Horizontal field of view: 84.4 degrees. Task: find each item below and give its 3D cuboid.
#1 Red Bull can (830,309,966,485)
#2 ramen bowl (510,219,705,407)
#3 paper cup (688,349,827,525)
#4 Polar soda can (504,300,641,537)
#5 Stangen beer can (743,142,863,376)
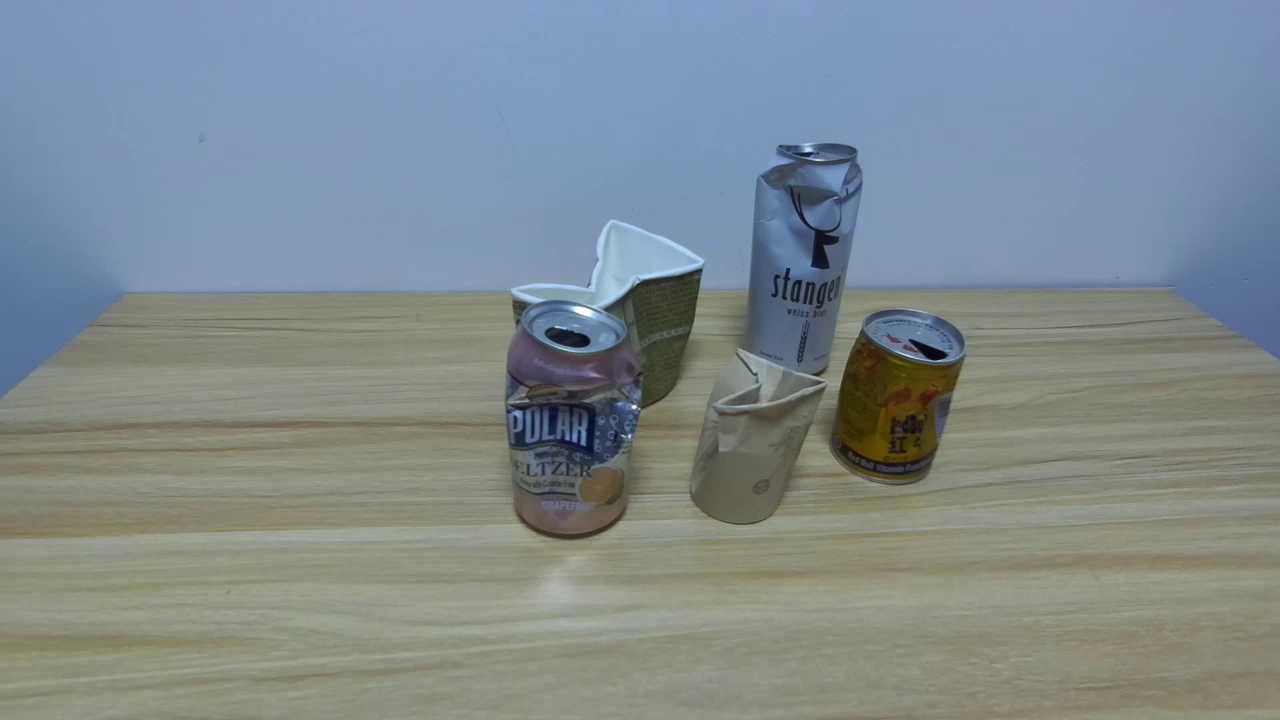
[{"bbox_3d":[0.158,0.022,0.437,0.072,0.092,0.072,2,33,-1],"label":"Red Bull can"},{"bbox_3d":[-0.030,-0.028,0.502,0.129,0.093,0.111,-27,43,-36],"label":"ramen bowl"},{"bbox_3d":[0.058,0.044,0.406,0.067,0.083,0.058,-18,35,-29],"label":"paper cup"},{"bbox_3d":[-0.034,0.033,0.389,0.071,0.122,0.066,8,28,8],"label":"Polar soda can"},{"bbox_3d":[0.116,-0.069,0.509,0.065,0.166,0.066,19,35,28],"label":"Stangen beer can"}]
